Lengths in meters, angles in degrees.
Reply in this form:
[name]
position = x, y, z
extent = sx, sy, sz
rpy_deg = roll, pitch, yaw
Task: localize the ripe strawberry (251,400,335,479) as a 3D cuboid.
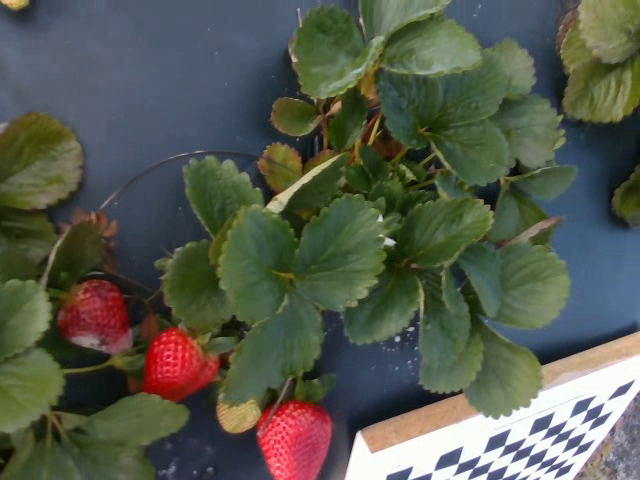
[ripe strawberry]
position = -0.006, 0.060, 0.180
extent = 0.022, 0.030, 0.025
rpy_deg = -5, -35, 7
